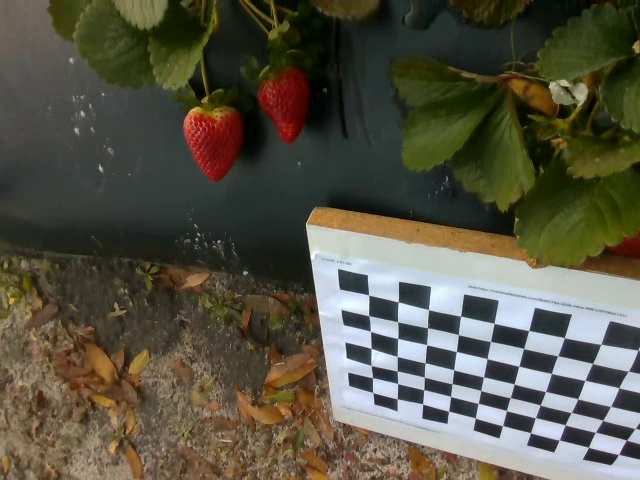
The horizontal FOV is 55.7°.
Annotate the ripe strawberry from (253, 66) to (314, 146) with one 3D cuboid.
[{"bbox_3d":[-0.026,-0.090,0.403,0.042,0.053,0.034,1,10,31],"label":"ripe strawberry"}]

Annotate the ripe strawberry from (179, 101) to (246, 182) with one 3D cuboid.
[{"bbox_3d":[-0.078,-0.071,0.439,0.050,0.061,0.045,5,8,27],"label":"ripe strawberry"}]
